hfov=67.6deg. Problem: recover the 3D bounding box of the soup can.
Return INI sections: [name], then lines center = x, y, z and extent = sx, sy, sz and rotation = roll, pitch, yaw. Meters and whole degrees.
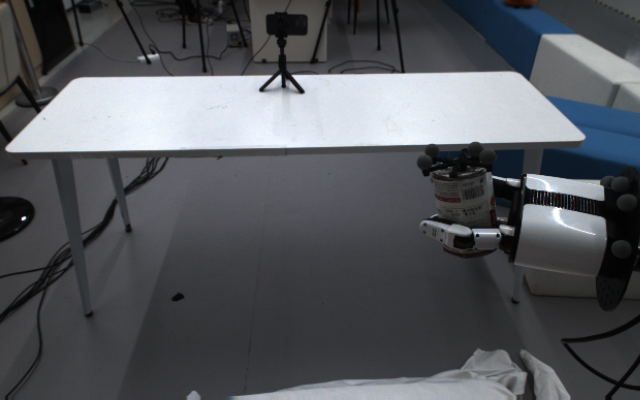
[soup can]
center = 0.175, 0.008, 0.570
extent = 0.067, 0.101, 0.067
rotation = -13, 20, 5
